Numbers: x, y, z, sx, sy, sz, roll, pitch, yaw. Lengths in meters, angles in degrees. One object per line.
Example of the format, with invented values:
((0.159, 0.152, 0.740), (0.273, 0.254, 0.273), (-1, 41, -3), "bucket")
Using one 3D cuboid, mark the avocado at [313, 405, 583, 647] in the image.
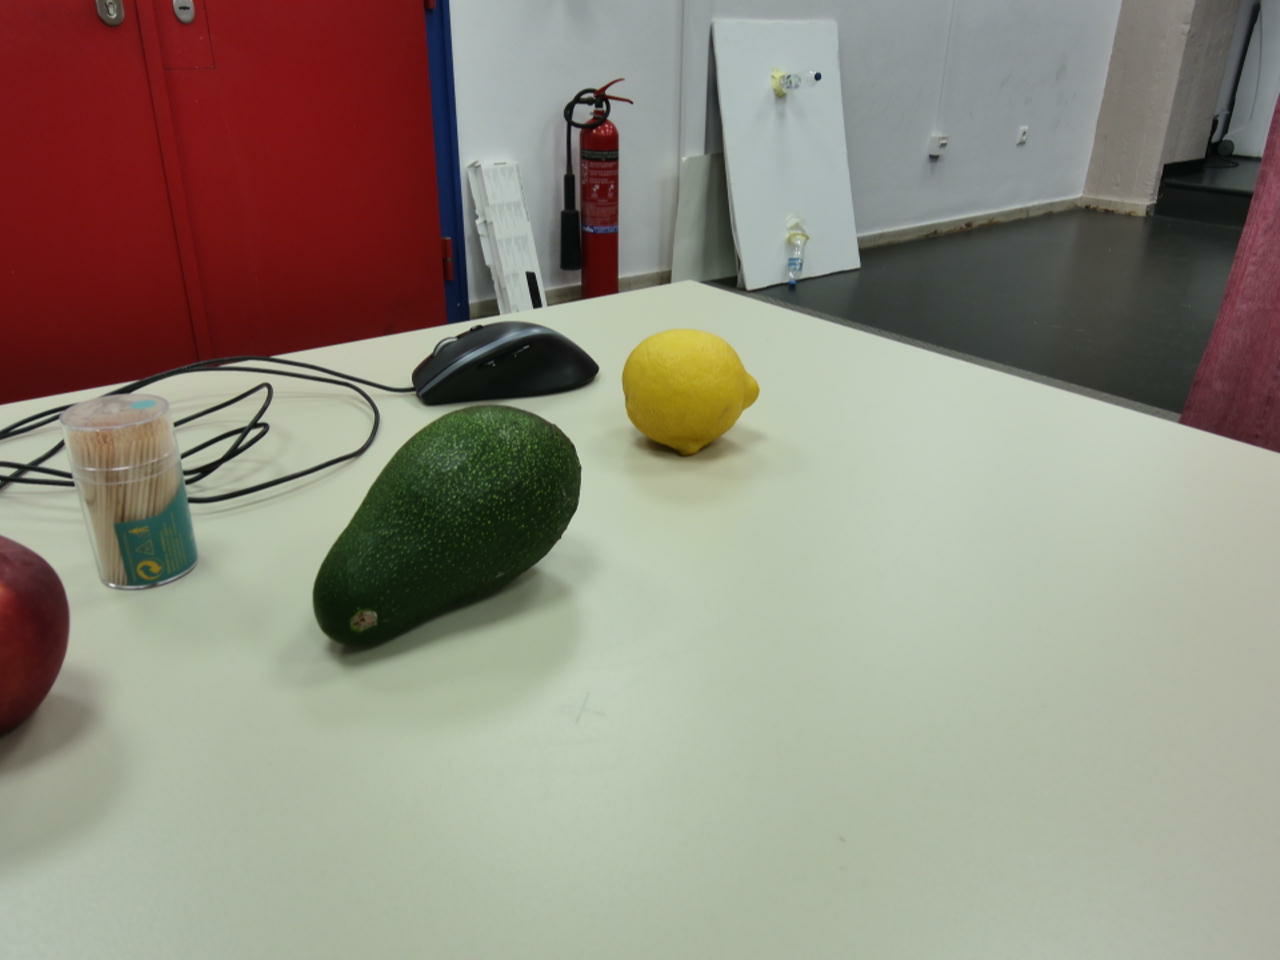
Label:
((-0.080, 0.012, 0.407), (0.123, 0.076, 0.074), (-14, 27, -30), "avocado")
